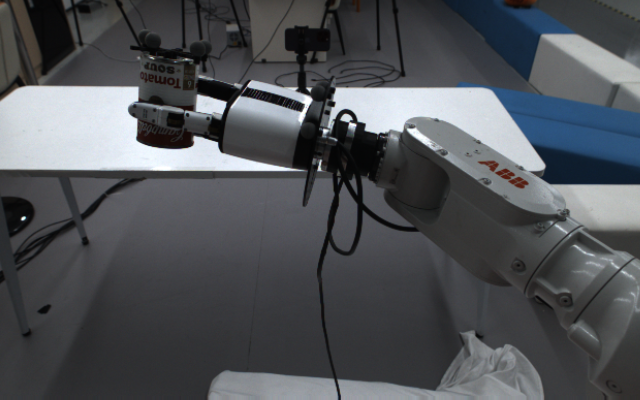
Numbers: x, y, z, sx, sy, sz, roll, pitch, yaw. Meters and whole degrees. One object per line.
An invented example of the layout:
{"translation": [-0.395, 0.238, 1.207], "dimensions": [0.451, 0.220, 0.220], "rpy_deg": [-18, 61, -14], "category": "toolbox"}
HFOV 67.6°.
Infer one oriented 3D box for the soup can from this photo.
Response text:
{"translation": [-0.181, -0.118, 0.579], "dimensions": [0.067, 0.101, 0.067], "rpy_deg": [9, 20, -3], "category": "soup can"}
